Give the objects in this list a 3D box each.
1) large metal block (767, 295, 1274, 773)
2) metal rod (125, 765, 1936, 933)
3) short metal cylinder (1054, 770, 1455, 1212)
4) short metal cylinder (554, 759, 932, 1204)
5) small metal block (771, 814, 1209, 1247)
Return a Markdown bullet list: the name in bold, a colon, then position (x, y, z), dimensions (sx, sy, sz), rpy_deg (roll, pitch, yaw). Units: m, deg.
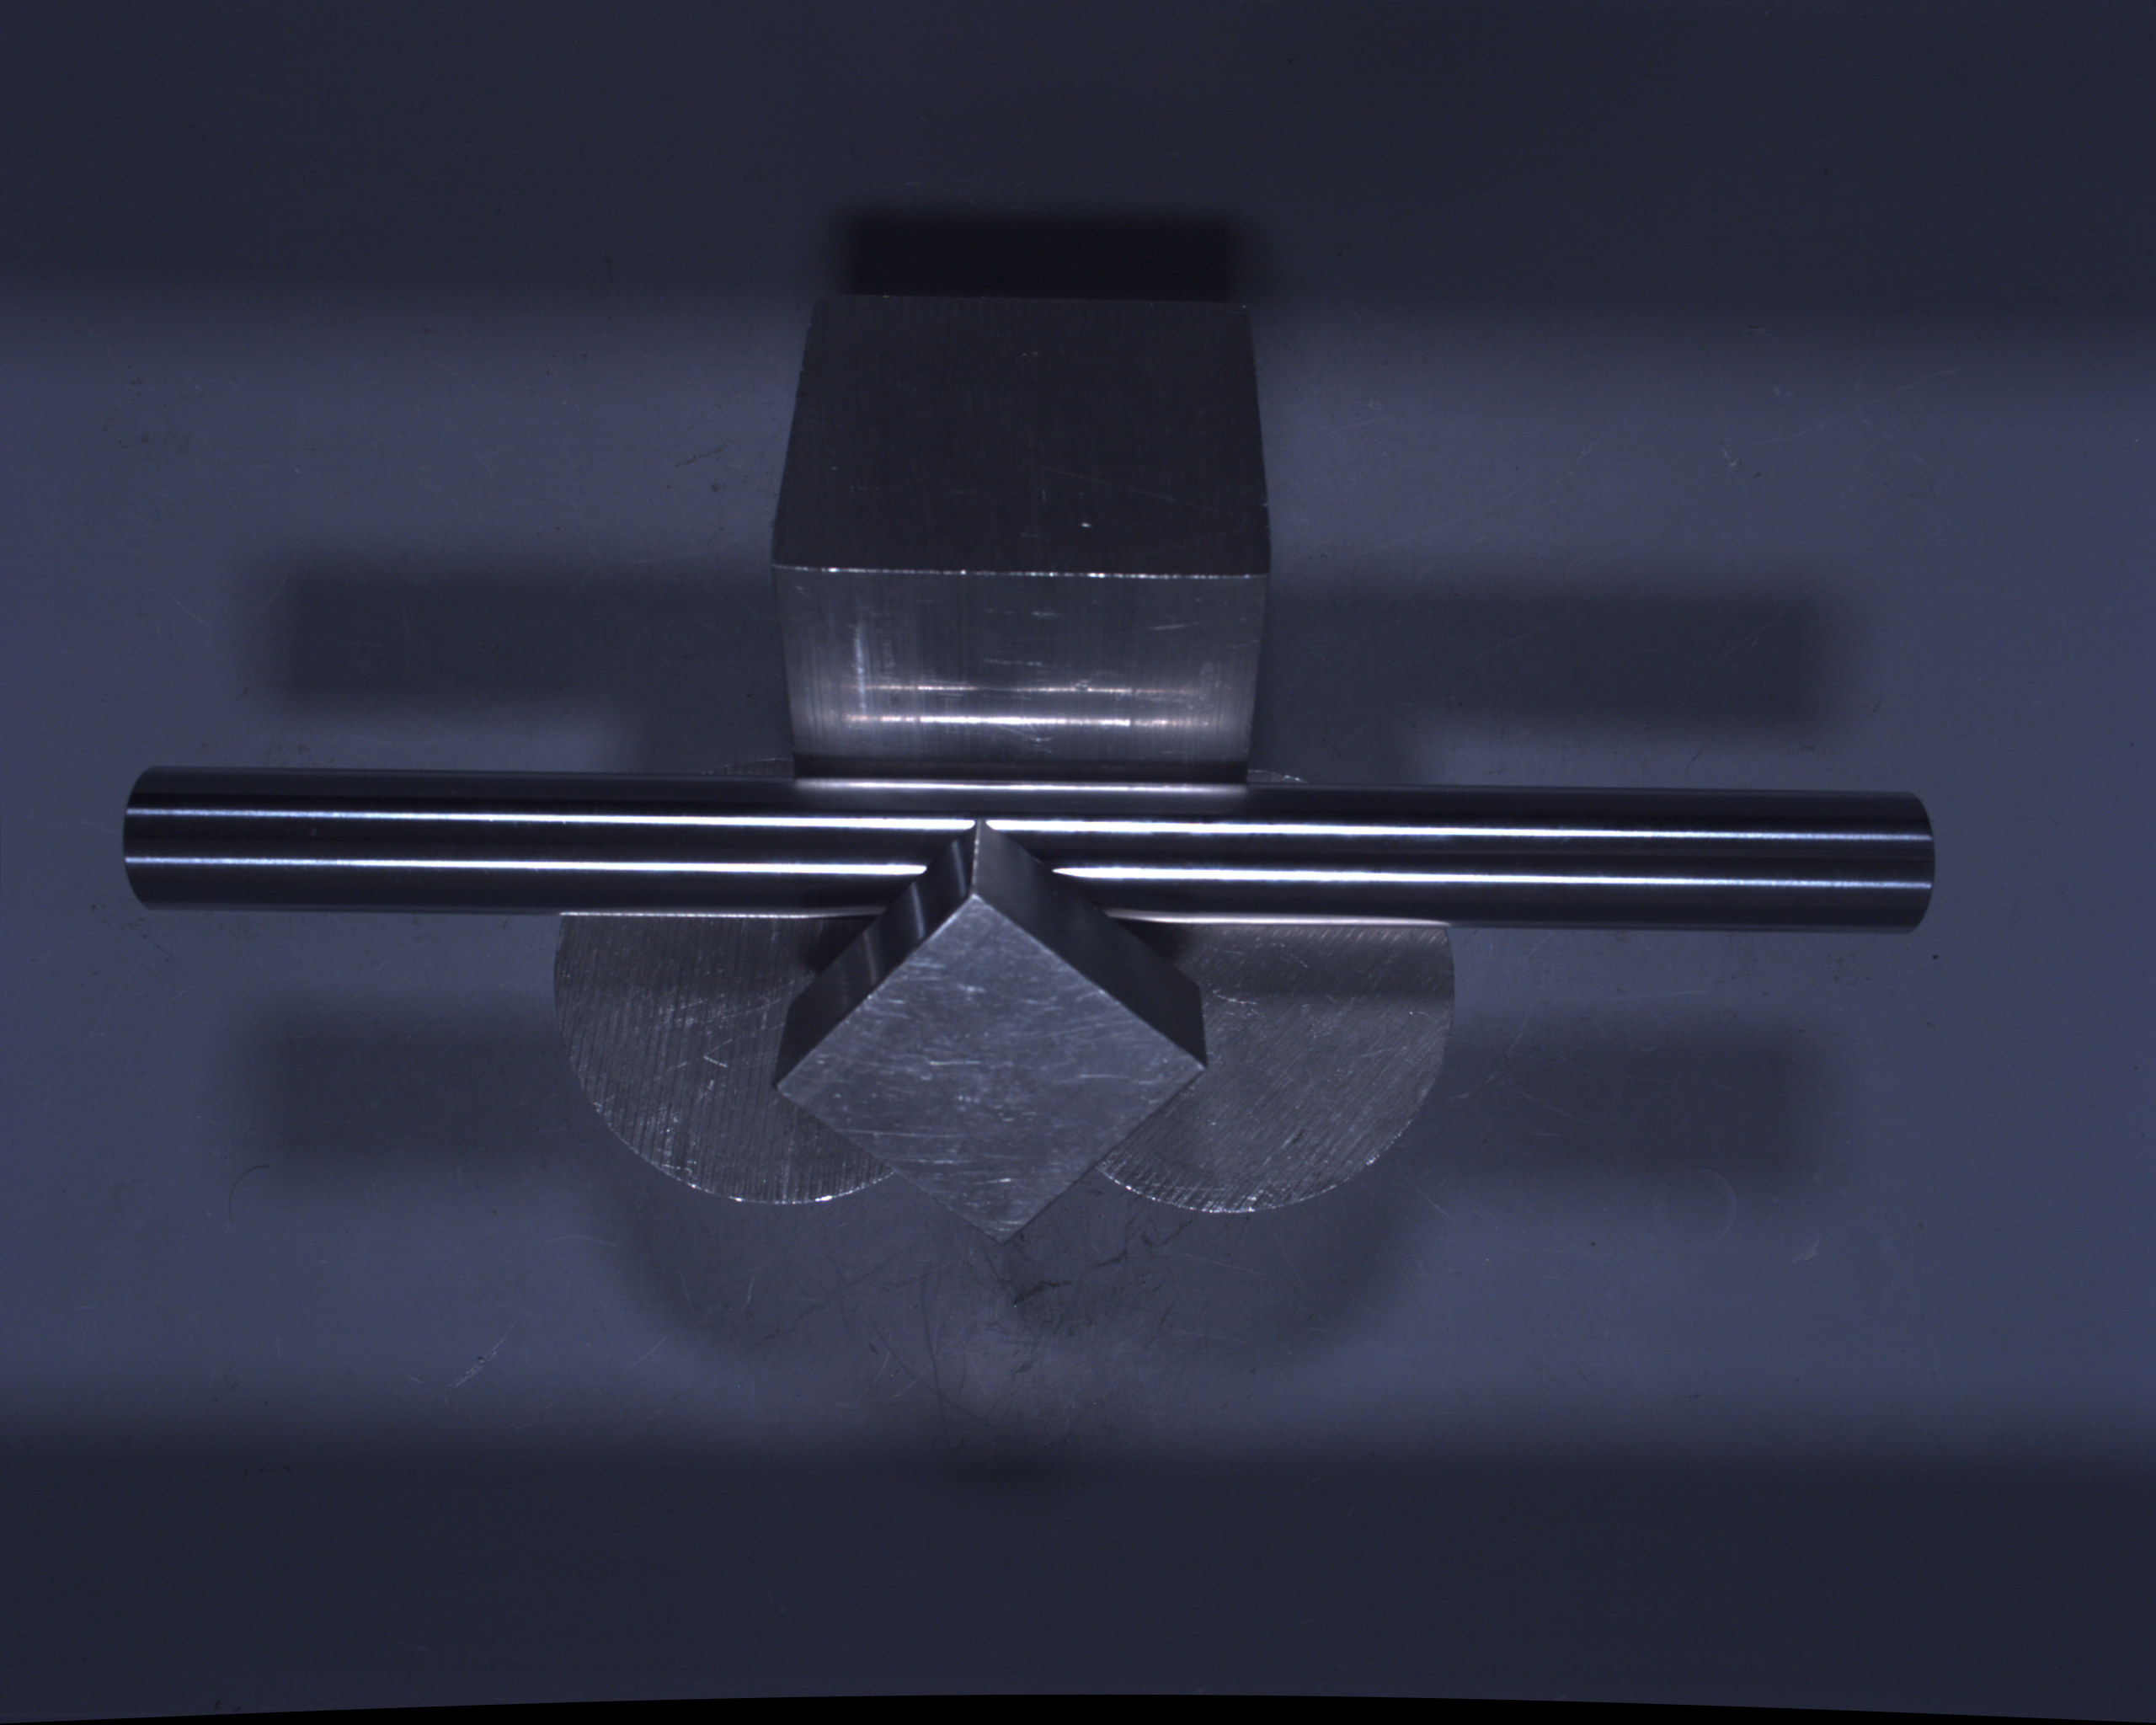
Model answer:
- **large metal block**: position (-0.009, -0.058, 0.377), dimensions (0.081, 0.050, 0.080), rpy_deg (1, 47, 0)
- **metal rod**: position (-0.007, -0.002, 0.360), dimensions (0.302, 0.025, 0.025), rpy_deg (1, 90, -1)
- **short metal cylinder**: position (0.027, 0.023, 0.398), dimensions (0.081, 0.050, 0.079), rpy_deg (0, 90, -1)
- **short metal cylinder**: position (-0.053, 0.021, 0.397), dimensions (0.081, 0.050, 0.079), rpy_deg (0, 90, -1)
- **small metal block**: position (-0.014, 0.029, 0.349), dimensions (0.050, 0.025, 0.050), rpy_deg (38, 112, -19)
